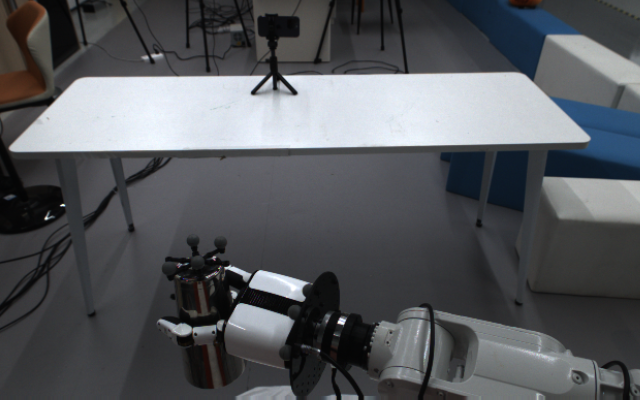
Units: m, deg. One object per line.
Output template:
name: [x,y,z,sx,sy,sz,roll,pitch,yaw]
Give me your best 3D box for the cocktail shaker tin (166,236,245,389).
cocktail shaker tin: [-0.155,0.164,0.671,0.093,0.170,0.093,-2,26,1]
